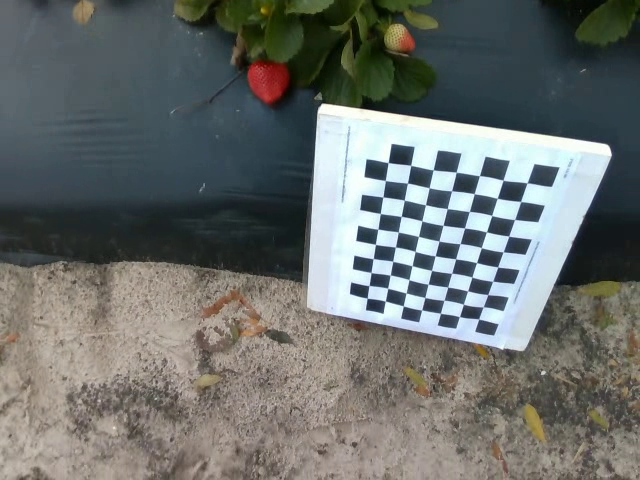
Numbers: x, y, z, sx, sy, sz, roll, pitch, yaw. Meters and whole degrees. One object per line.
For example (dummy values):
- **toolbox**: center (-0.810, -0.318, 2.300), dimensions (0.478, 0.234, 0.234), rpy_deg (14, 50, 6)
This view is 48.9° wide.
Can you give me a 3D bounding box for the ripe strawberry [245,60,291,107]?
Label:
- **ripe strawberry**: center (-0.047, -0.135, 0.588), dimensions (0.037, 0.046, 0.036), rpy_deg (-26, -22, 39)
